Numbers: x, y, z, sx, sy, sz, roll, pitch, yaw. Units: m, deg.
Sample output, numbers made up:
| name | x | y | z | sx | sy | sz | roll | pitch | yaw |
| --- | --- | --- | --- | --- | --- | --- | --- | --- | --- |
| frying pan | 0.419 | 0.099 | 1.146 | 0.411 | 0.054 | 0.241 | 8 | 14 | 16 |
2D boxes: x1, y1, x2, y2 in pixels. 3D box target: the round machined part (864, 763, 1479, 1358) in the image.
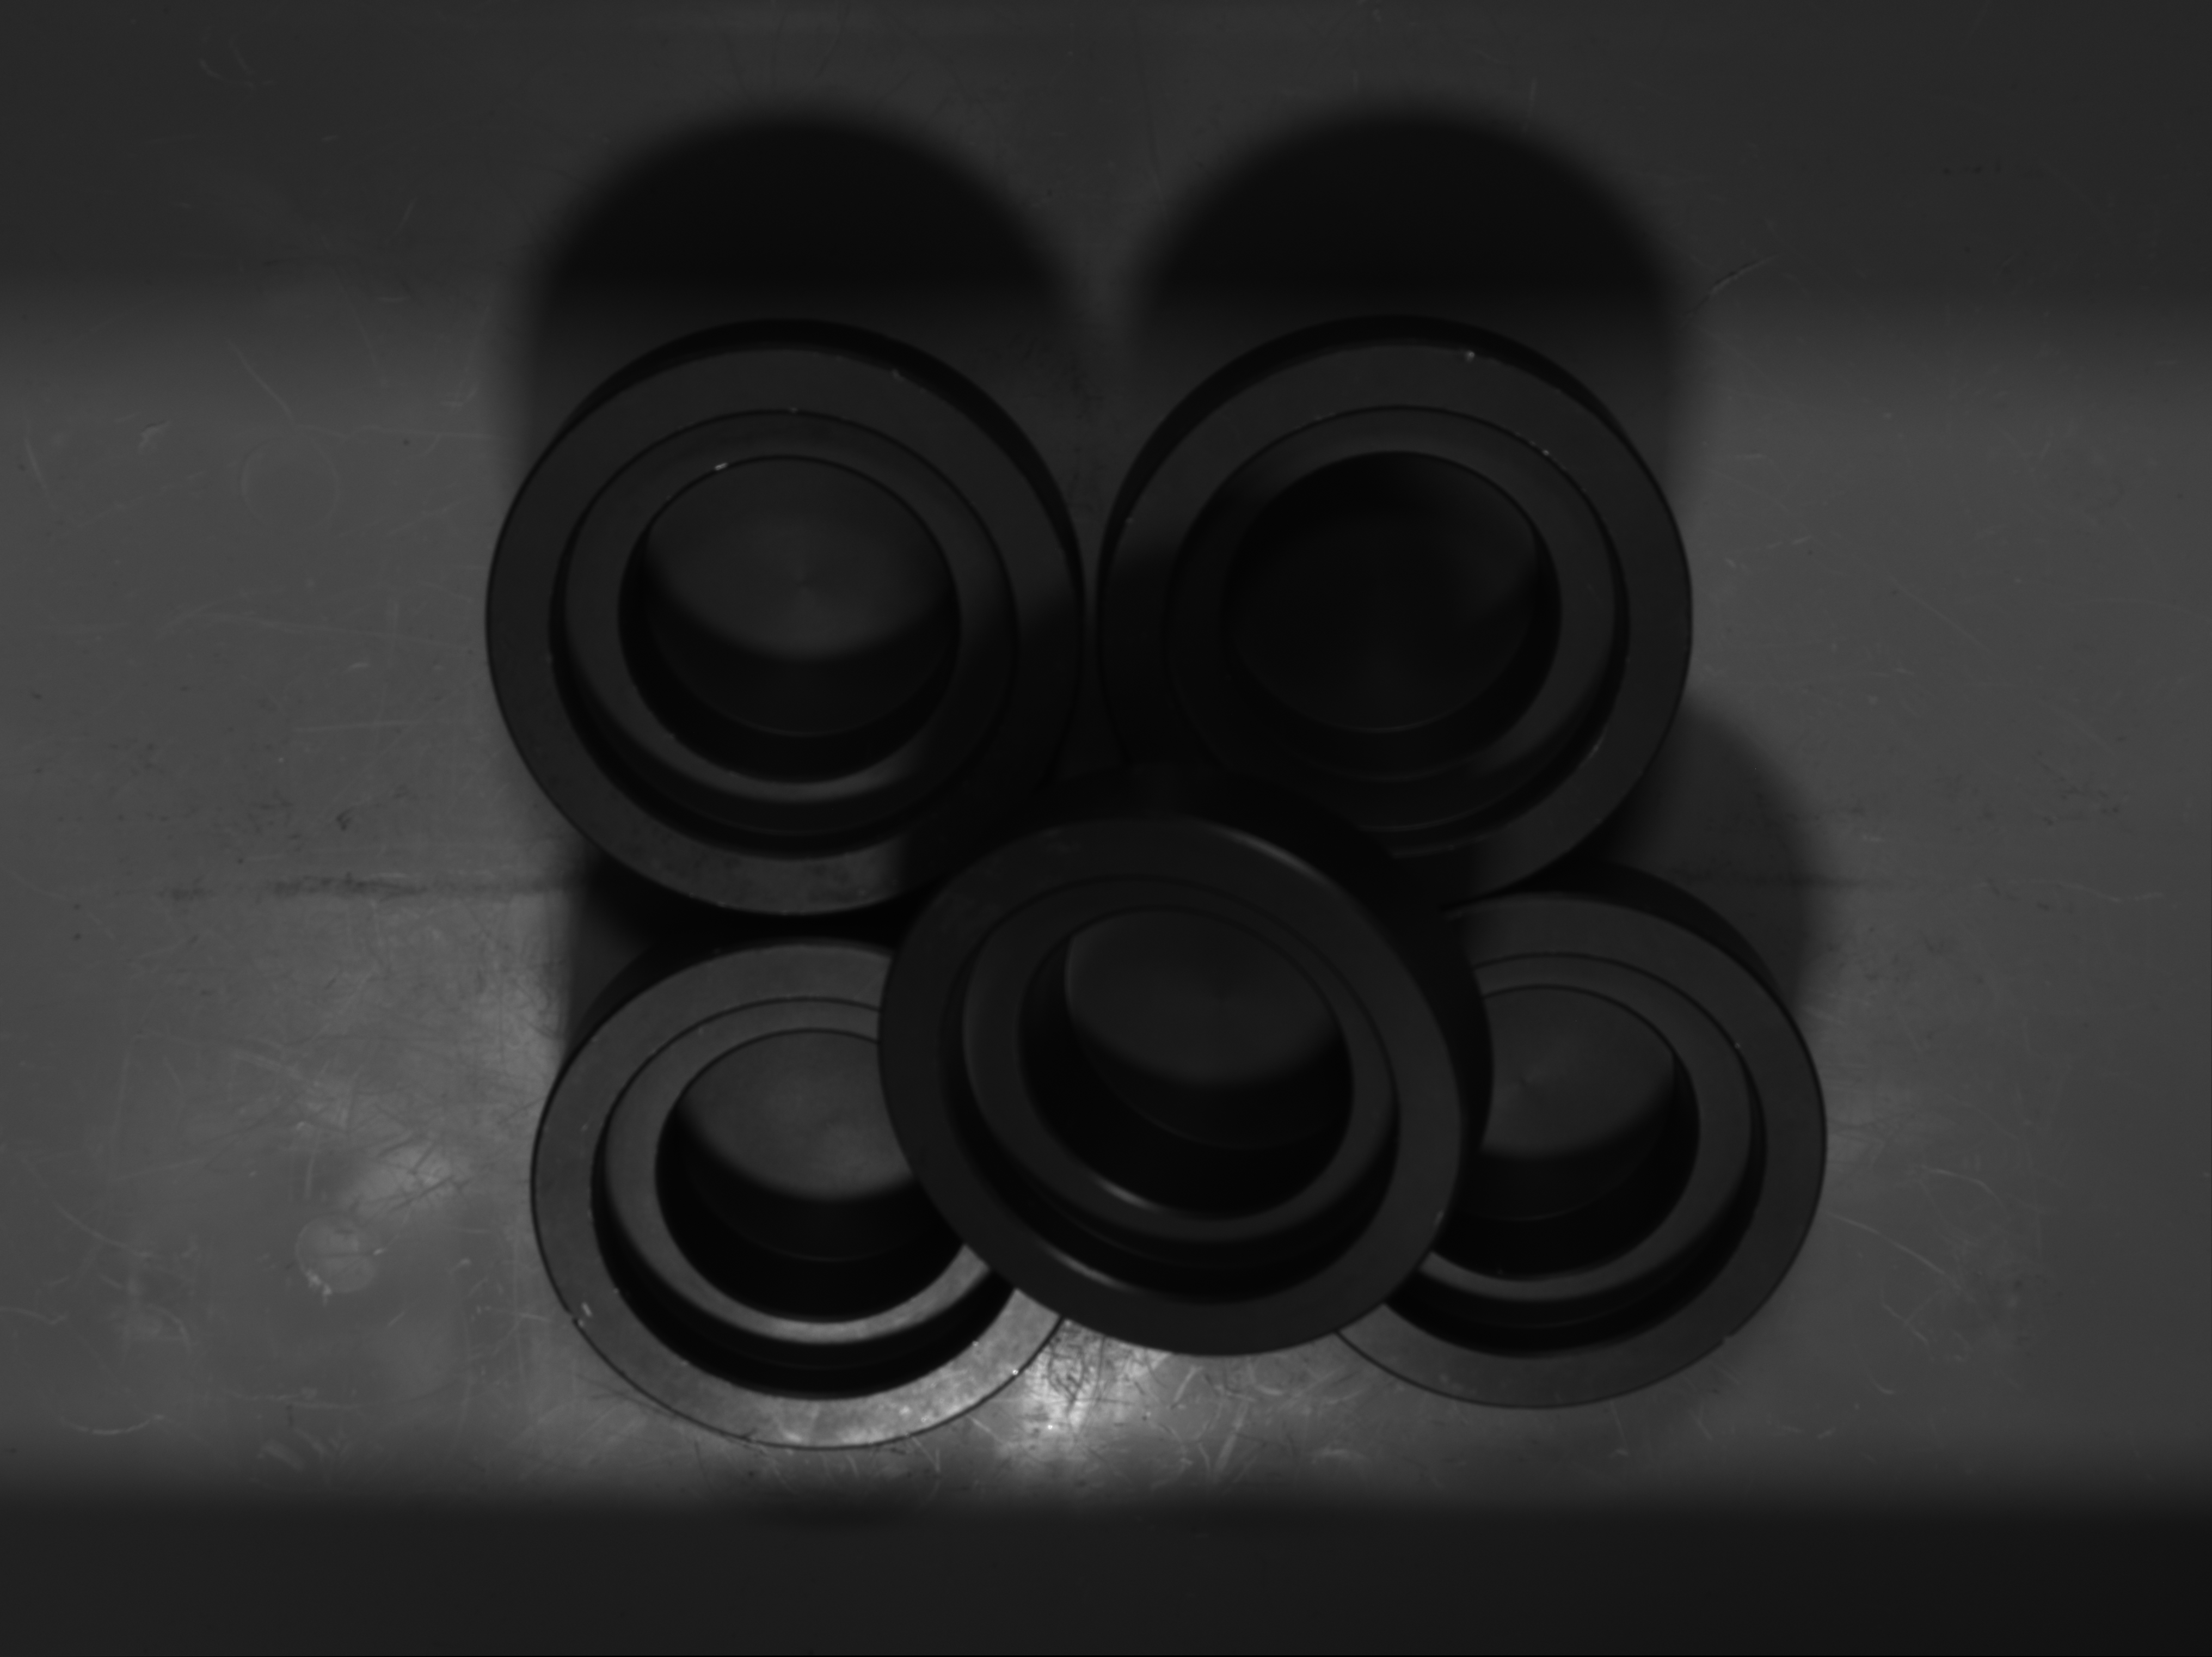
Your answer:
| name | x | y | z | sx | sy | sz | roll | pitch | yaw |
| --- | --- | --- | --- | --- | --- | --- | --- | --- | --- |
| round machined part | 0.013 | 0.034 | 0.600 | 0.098 | 0.042 | 0.098 | 8 | 116 | 16 |

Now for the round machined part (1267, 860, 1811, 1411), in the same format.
| name | x | y | z | sx | sy | sz | roll | pitch | yaw |
| --- | --- | --- | --- | --- | --- | --- | --- | --- | --- |
| round machined part | 0.073 | 0.051 | 0.652 | 0.098 | 0.042 | 0.098 | 0 | 110 | -1 |

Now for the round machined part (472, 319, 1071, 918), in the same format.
| name | x | y | z | sx | sy | sz | roll | pitch | yaw |
| --- | --- | --- | --- | --- | --- | --- | --- | --- | --- |
| round machined part | -0.055 | -0.038 | 0.618 | 0.098 | 0.042 | 0.098 | 0 | 110 | -1 |

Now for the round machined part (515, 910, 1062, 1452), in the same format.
| name | x | y | z | sx | sy | sz | roll | pitch | yaw |
| --- | --- | --- | --- | --- | --- | --- | --- | --- | --- |
| round machined part | -0.053 | 0.058 | 0.653 | 0.098 | 0.042 | 0.098 | 0 | 110 | -1 |

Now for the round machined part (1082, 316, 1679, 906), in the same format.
| name | x | y | z | sx | sy | sz | roll | pitch | yaw |
| --- | --- | --- | --- | --- | --- | --- | --- | --- | --- |
| round machined part | 0.045 | -0.039 | 0.619 | 0.098 | 0.042 | 0.098 | 0 | 110 | -1 |
